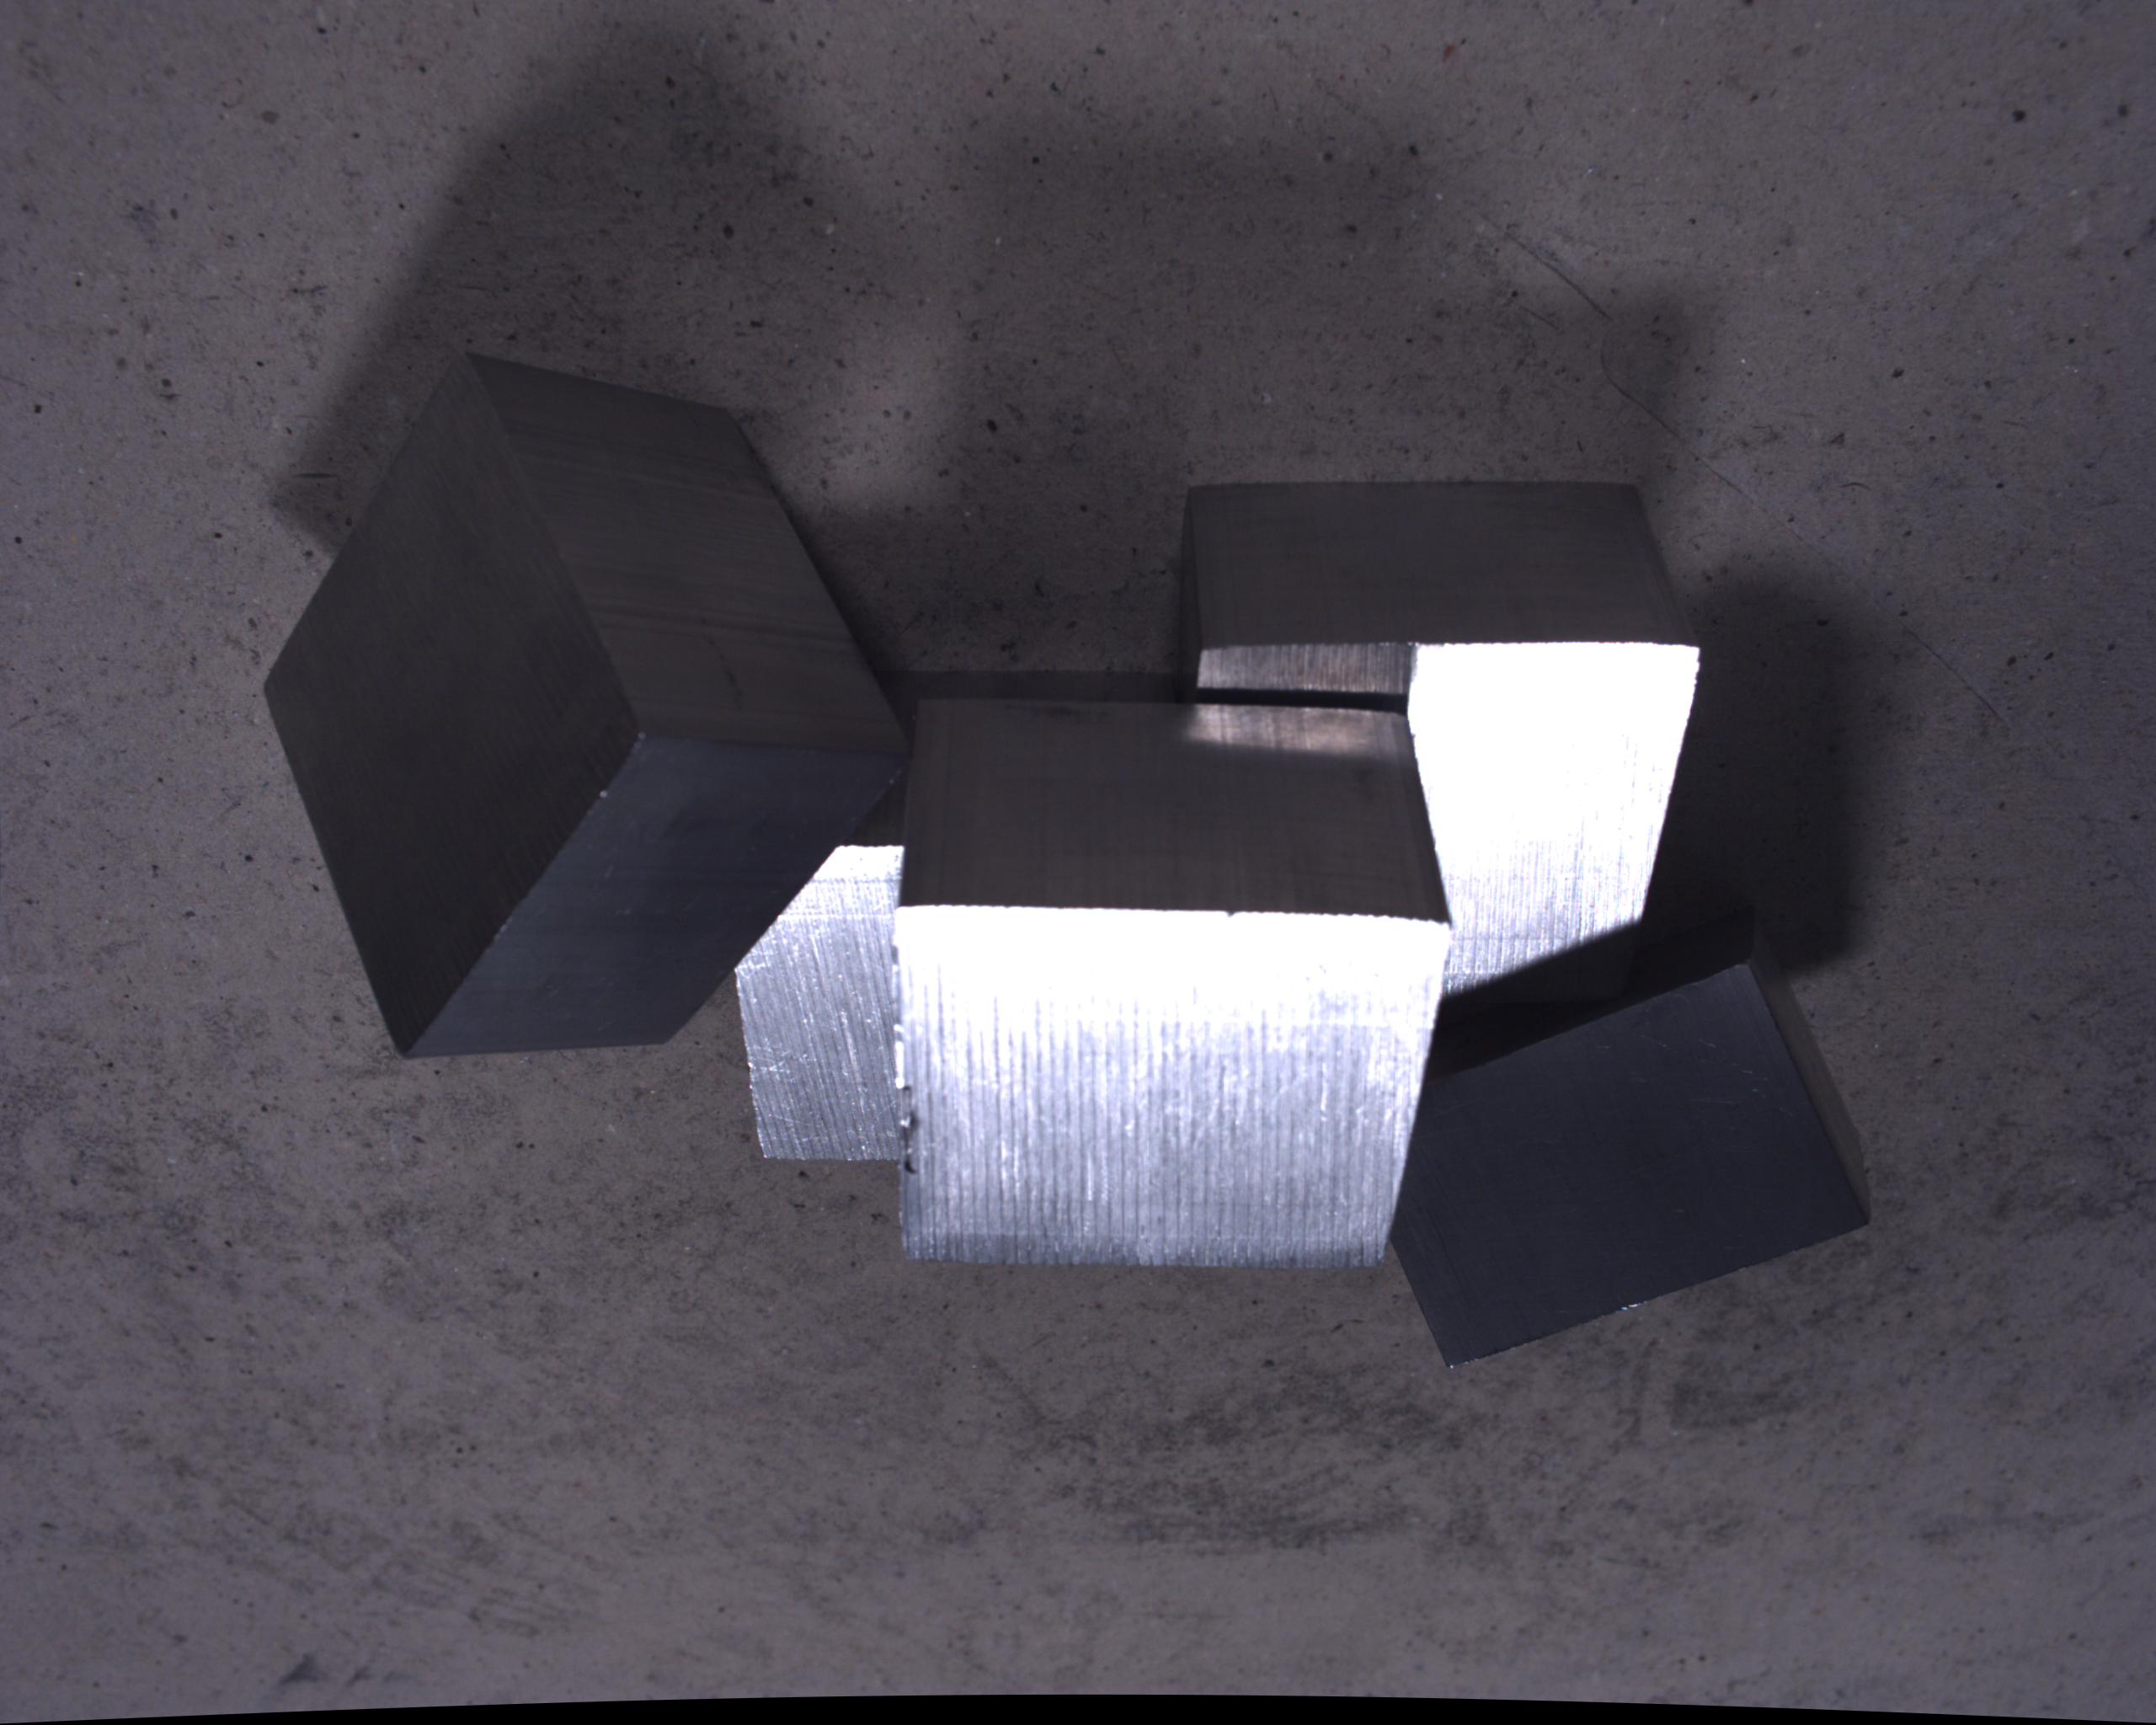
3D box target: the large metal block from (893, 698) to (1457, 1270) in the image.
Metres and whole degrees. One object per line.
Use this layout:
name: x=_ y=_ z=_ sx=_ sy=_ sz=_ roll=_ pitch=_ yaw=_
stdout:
large metal block: x=0.012 y=0.021 z=0.342 sx=0.081 sy=0.050 sz=0.079 roll=2 pitch=130 yaw=-2

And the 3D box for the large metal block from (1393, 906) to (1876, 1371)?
large metal block: x=0.104 y=0.051 z=0.409 sx=0.080 sy=0.080 sz=0.050 roll=-25 pitch=88 yaw=19

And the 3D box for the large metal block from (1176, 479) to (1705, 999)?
large metal block: x=0.059 y=-0.021 z=0.376 sx=0.081 sy=0.050 sz=0.079 roll=0 pitch=130 yaw=-1

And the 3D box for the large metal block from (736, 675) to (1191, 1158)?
large metal block: x=-0.021 y=0.011 z=0.399 sx=0.081 sy=0.050 sz=0.079 roll=0 pitch=130 yaw=-1

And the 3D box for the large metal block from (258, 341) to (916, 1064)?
large metal block: x=-0.084 y=-0.024 z=0.342 sx=0.050 sy=0.080 sz=0.080 roll=2 pitch=140 yaw=-48
